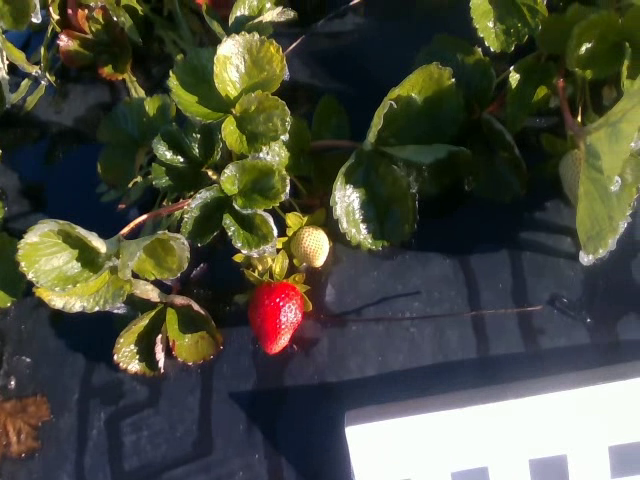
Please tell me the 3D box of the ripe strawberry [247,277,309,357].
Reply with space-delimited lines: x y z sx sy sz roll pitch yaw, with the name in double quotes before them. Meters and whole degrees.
"ripe strawberry" -0.020 0.042 0.308 0.039 0.039 0.040 -18 -51 19
